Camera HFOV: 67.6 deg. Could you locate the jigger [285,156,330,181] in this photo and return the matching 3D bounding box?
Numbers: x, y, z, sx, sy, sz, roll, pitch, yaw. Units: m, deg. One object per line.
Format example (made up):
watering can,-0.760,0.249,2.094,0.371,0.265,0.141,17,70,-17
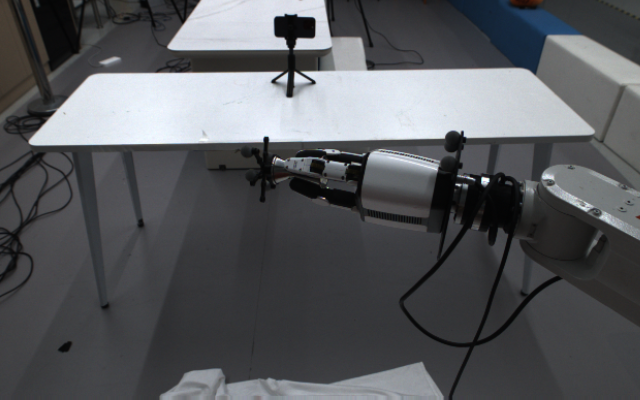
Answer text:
jigger,-0.019,-0.043,0.643,0.071,0.043,0.043,2,34,16
